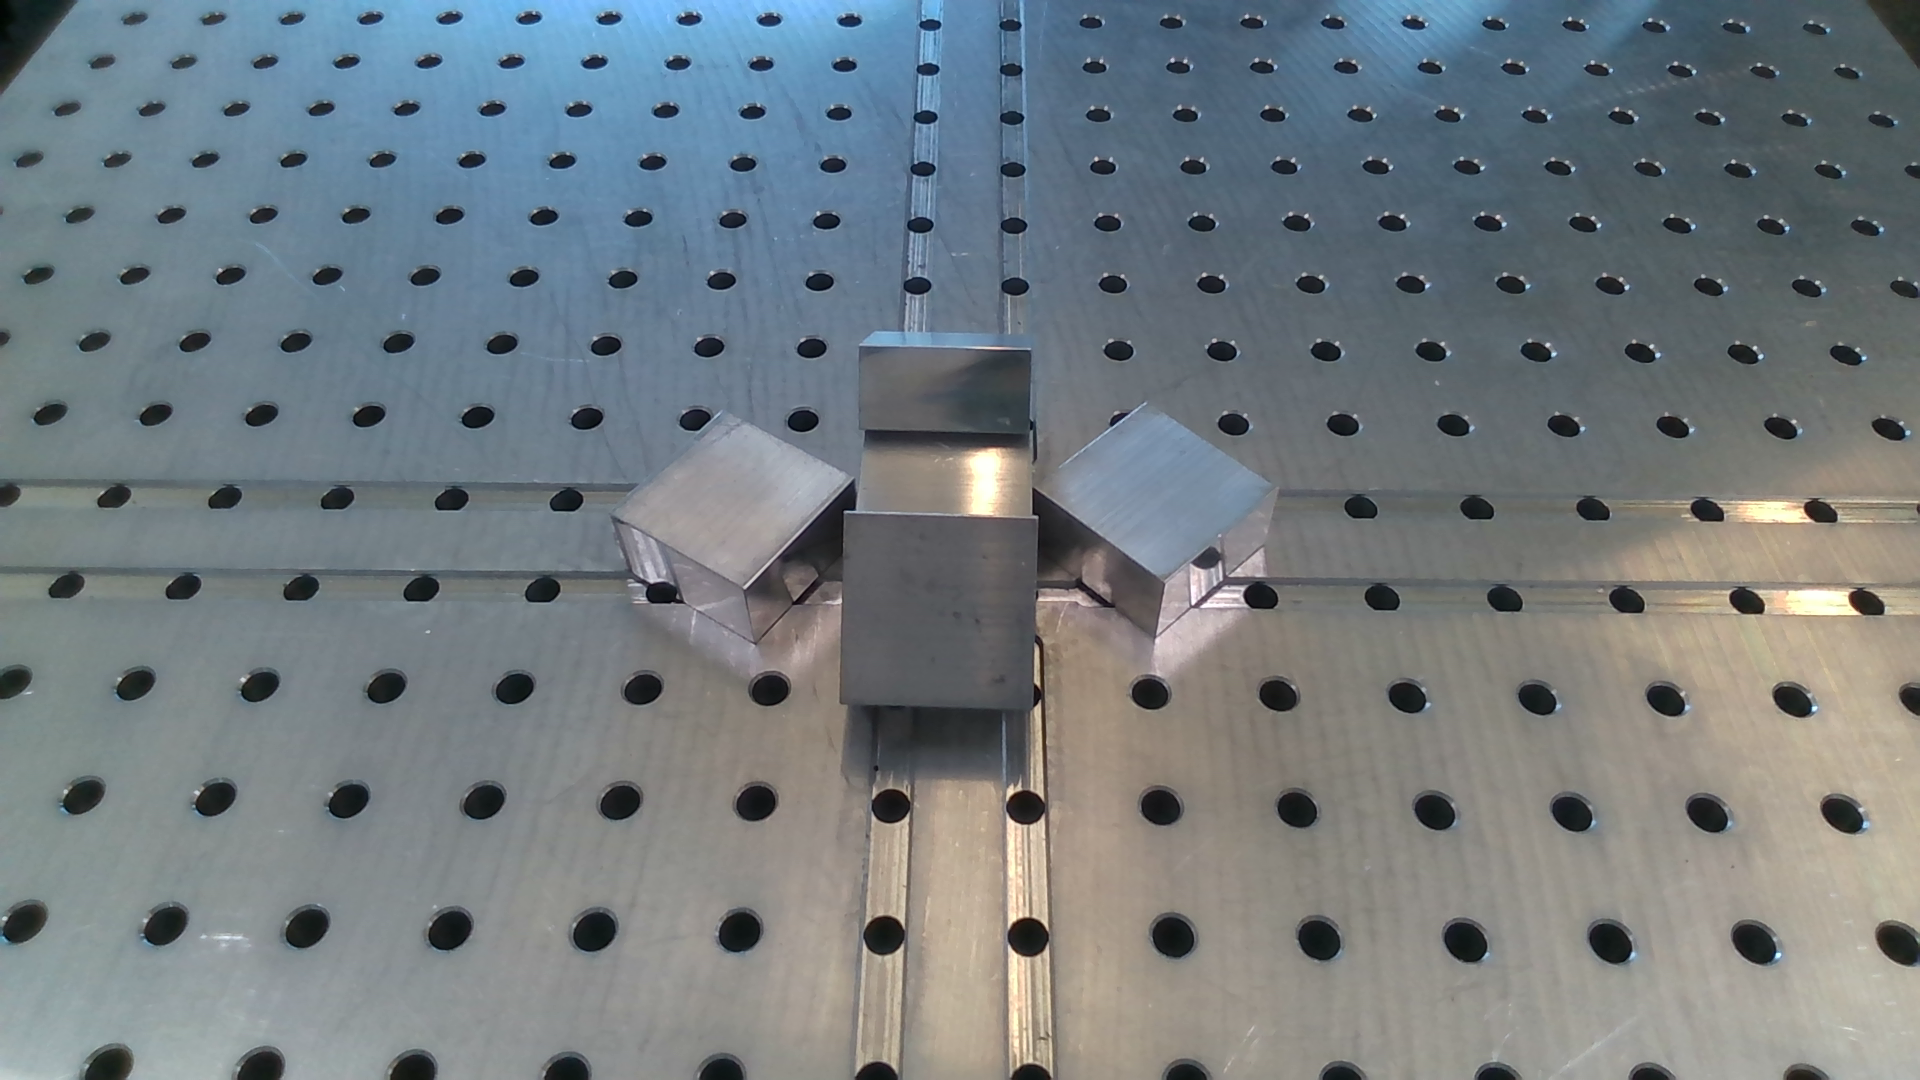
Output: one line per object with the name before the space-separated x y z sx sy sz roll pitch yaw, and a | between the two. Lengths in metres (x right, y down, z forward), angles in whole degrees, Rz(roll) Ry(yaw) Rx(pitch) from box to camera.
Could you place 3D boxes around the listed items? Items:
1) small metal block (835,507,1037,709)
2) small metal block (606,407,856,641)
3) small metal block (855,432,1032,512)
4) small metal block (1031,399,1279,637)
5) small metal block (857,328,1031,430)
small metal block | -0.006 0.017 0.365 0.050 0.025 0.050 2 91 1
small metal block | -0.065 -0.006 0.401 0.050 0.025 0.050 27 54 22
small metal block | -0.005 -0.007 0.402 0.050 0.025 0.050 1 50 0
small metal block | 0.056 -0.008 0.403 0.050 0.025 0.050 -36 59 -27
small metal block | -0.004 -0.050 0.422 0.050 0.025 0.050 1 13 2
